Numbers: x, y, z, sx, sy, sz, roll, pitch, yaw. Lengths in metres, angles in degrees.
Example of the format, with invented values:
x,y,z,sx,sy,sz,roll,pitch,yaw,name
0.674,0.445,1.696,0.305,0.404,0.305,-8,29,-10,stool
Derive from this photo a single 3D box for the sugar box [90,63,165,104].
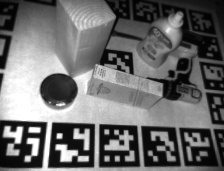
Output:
x,y,z,sx,sy,sz,roll,pitch,yaw,name
0.039,-0.005,0.557,0.177,0.092,0.045,17,62,-10,sugar box

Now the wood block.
x,y,z,sx,sy,sz,roll,pitch,yaw,name
-0.069,-0.128,0.520,0.091,0.205,0.089,-23,77,-21,wood block

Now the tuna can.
x,y,z,sx,sy,sz,roll,pitch,yaw,name
-0.127,-0.005,0.536,0.086,0.033,0.085,6,69,-14,tuna can

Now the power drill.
x,y,z,sx,sy,sz,roll,pitch,yaw,name
0.176,-0.066,0.638,0.185,0.057,0.187,18,72,-8,power drill

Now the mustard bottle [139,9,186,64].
x,y,z,sx,sy,sz,roll,pitch,yaw,name
0.144,-0.139,0.592,0.059,0.191,0.096,-36,82,-23,mustard bottle

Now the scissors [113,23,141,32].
x,y,z,sx,sy,sz,roll,pitch,yaw,name
-0.009,-0.182,0.652,0.204,0.016,0.087,8,64,-13,scissors
